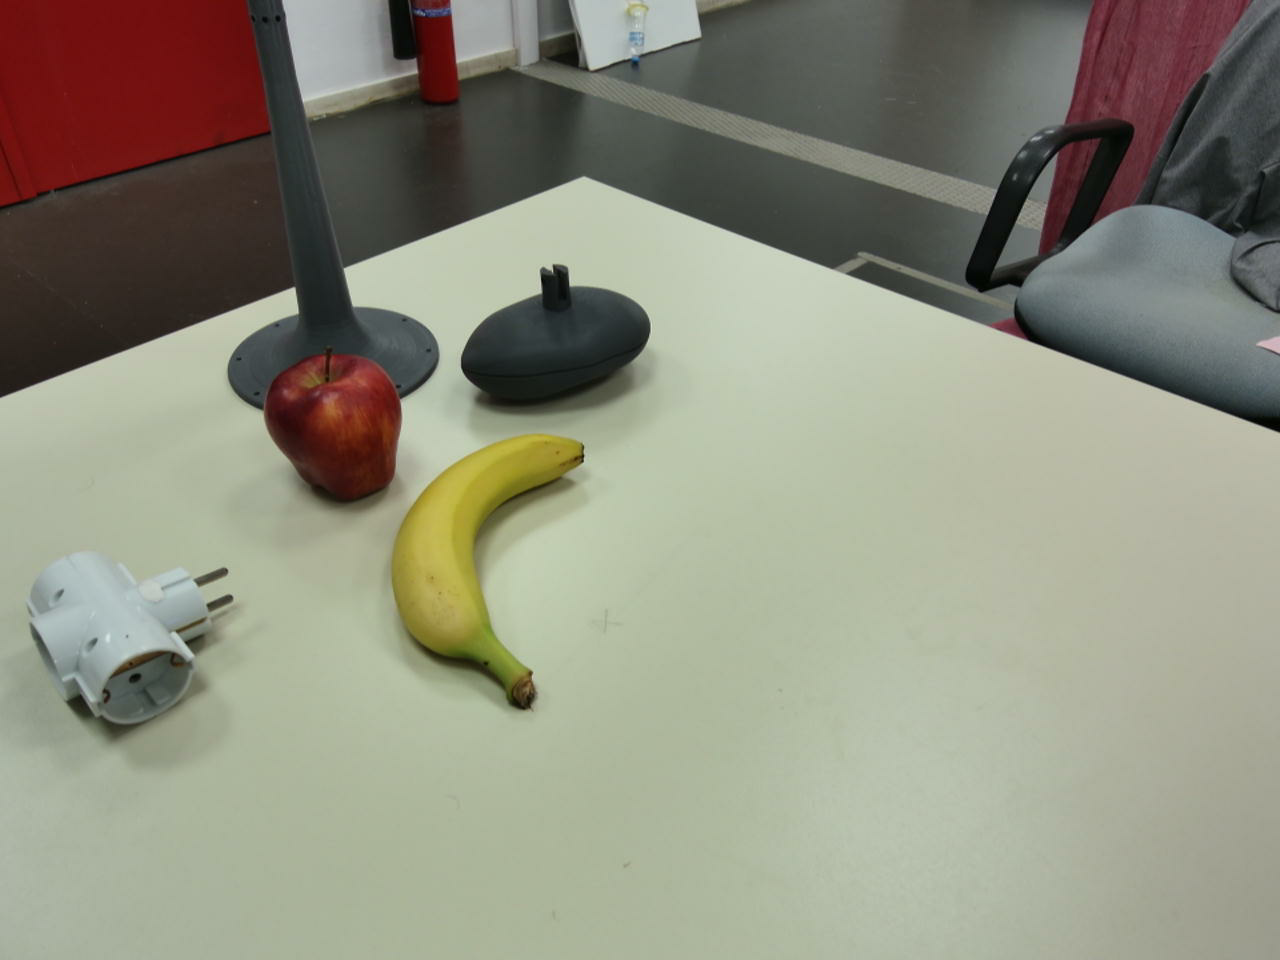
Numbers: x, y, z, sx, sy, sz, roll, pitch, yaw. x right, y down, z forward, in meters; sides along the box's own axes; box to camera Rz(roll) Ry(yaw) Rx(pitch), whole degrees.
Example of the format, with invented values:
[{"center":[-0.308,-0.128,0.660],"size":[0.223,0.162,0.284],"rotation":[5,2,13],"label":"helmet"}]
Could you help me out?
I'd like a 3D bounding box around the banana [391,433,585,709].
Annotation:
[{"center":[-0.089,0.036,0.562],"size":[0.094,0.041,0.196],"rotation":[4,37,4],"label":"banana"}]
